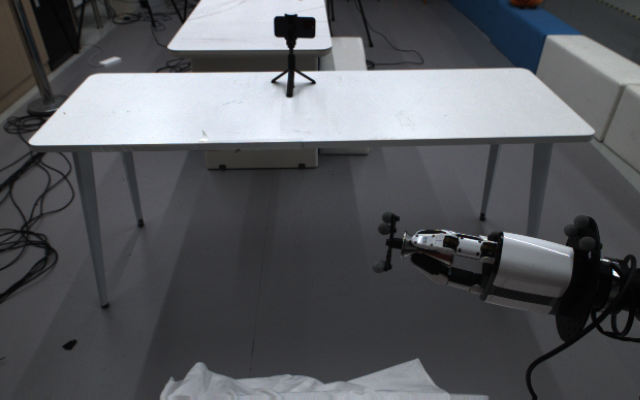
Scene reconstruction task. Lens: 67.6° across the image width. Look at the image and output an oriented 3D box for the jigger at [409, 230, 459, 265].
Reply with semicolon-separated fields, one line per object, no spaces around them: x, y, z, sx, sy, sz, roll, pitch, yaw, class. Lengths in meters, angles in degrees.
0.153;0.062;0.658;0.071;0.043;0.043;8;35;14;jigger
